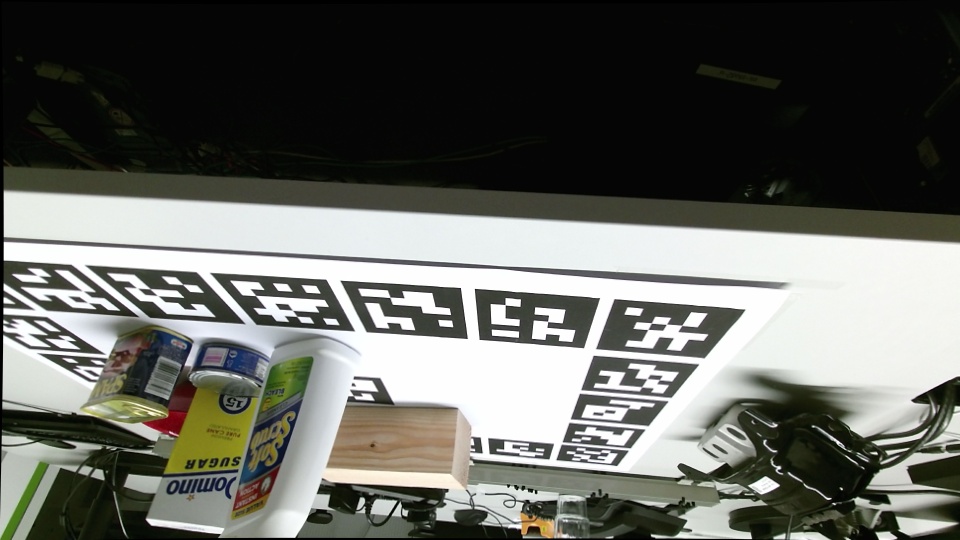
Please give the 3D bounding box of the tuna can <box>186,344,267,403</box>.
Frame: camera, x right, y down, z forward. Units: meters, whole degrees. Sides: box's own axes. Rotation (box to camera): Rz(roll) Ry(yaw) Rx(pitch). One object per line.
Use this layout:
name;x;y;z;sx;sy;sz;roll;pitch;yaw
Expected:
tuna can;-0.284;0.119;0.612;0.086;0.033;0.086;3;143;3

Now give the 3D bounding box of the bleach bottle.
bleach bottle;-0.193;0.197;0.527;0.103;0.249;0.068;-13;143;25

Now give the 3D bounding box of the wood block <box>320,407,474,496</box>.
wood block;-0.122;0.252;0.745;0.207;0.089;0.091;-2;141;13

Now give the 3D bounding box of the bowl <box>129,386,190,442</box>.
bowl;-0.381;0.202;0.735;0.162;0.055;0.162;1;146;1

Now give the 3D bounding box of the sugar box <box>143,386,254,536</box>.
sugar box;-0.310;0.211;0.626;0.093;0.175;0.045;12;144;-15

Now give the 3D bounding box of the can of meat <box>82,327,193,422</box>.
can of meat;-0.371;0.116;0.588;0.102;0.083;0.058;-15;144;30
